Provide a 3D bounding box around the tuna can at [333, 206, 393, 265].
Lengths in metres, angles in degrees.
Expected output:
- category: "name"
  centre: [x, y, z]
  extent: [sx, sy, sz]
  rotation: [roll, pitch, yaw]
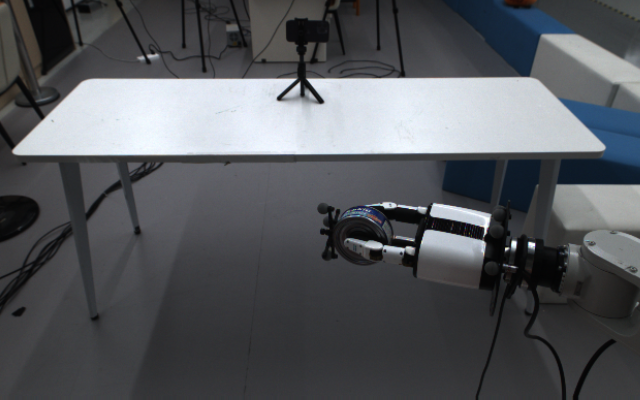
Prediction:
- category: "tuna can"
  centre: [0.065, 0.055, 0.709]
  extent: [0.085, 0.085, 0.034]
  rotation: [12, 28, 14]
